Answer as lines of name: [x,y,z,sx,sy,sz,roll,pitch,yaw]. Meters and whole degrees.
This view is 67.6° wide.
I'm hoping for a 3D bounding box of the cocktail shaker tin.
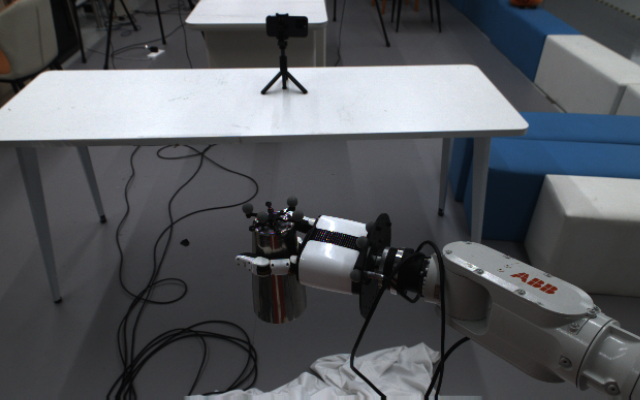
cocktail shaker tin: [-0.066,0.103,0.783,0.093,0.170,0.093,-1,32,1]
